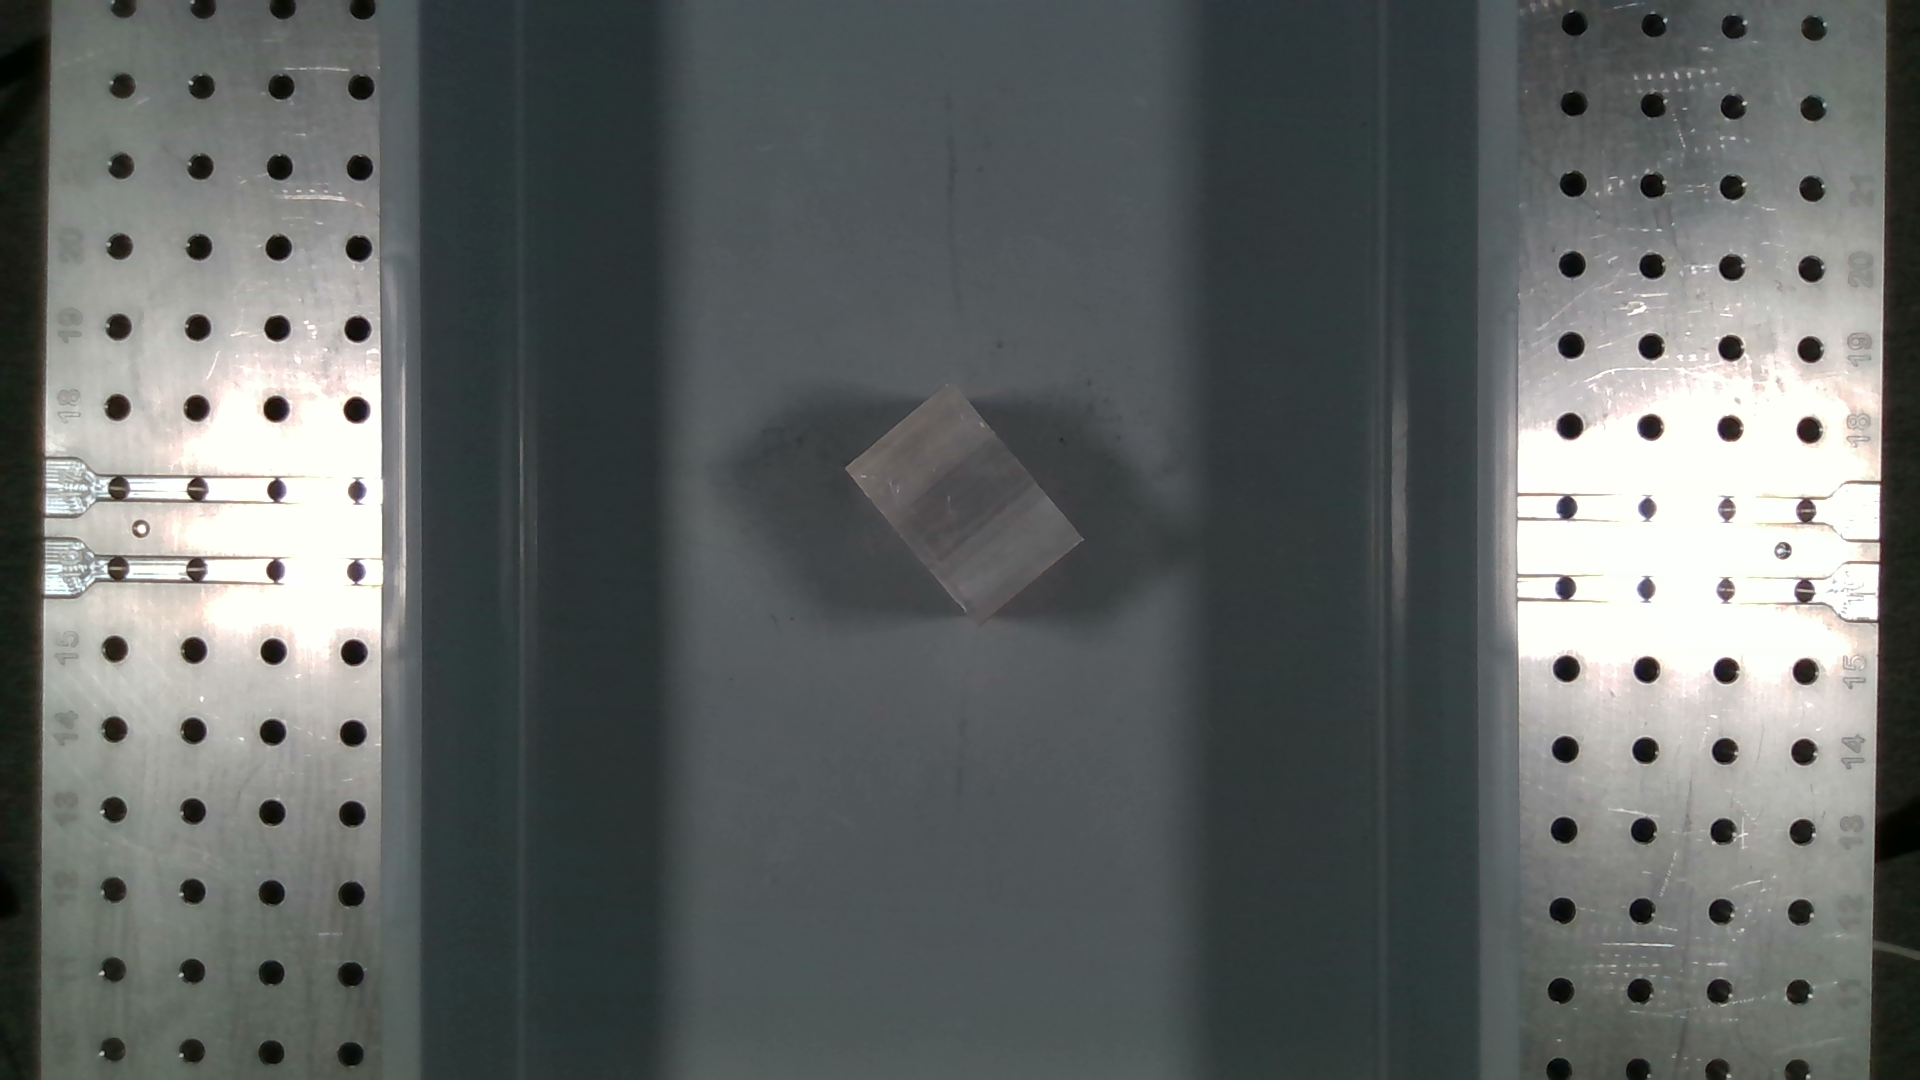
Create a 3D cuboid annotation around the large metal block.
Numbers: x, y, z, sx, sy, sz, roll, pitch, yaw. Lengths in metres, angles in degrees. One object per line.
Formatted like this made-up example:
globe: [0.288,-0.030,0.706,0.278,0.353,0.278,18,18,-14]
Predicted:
large metal block: [0.002,-0.013,0.557,0.050,0.080,0.080,-40,90,0]
